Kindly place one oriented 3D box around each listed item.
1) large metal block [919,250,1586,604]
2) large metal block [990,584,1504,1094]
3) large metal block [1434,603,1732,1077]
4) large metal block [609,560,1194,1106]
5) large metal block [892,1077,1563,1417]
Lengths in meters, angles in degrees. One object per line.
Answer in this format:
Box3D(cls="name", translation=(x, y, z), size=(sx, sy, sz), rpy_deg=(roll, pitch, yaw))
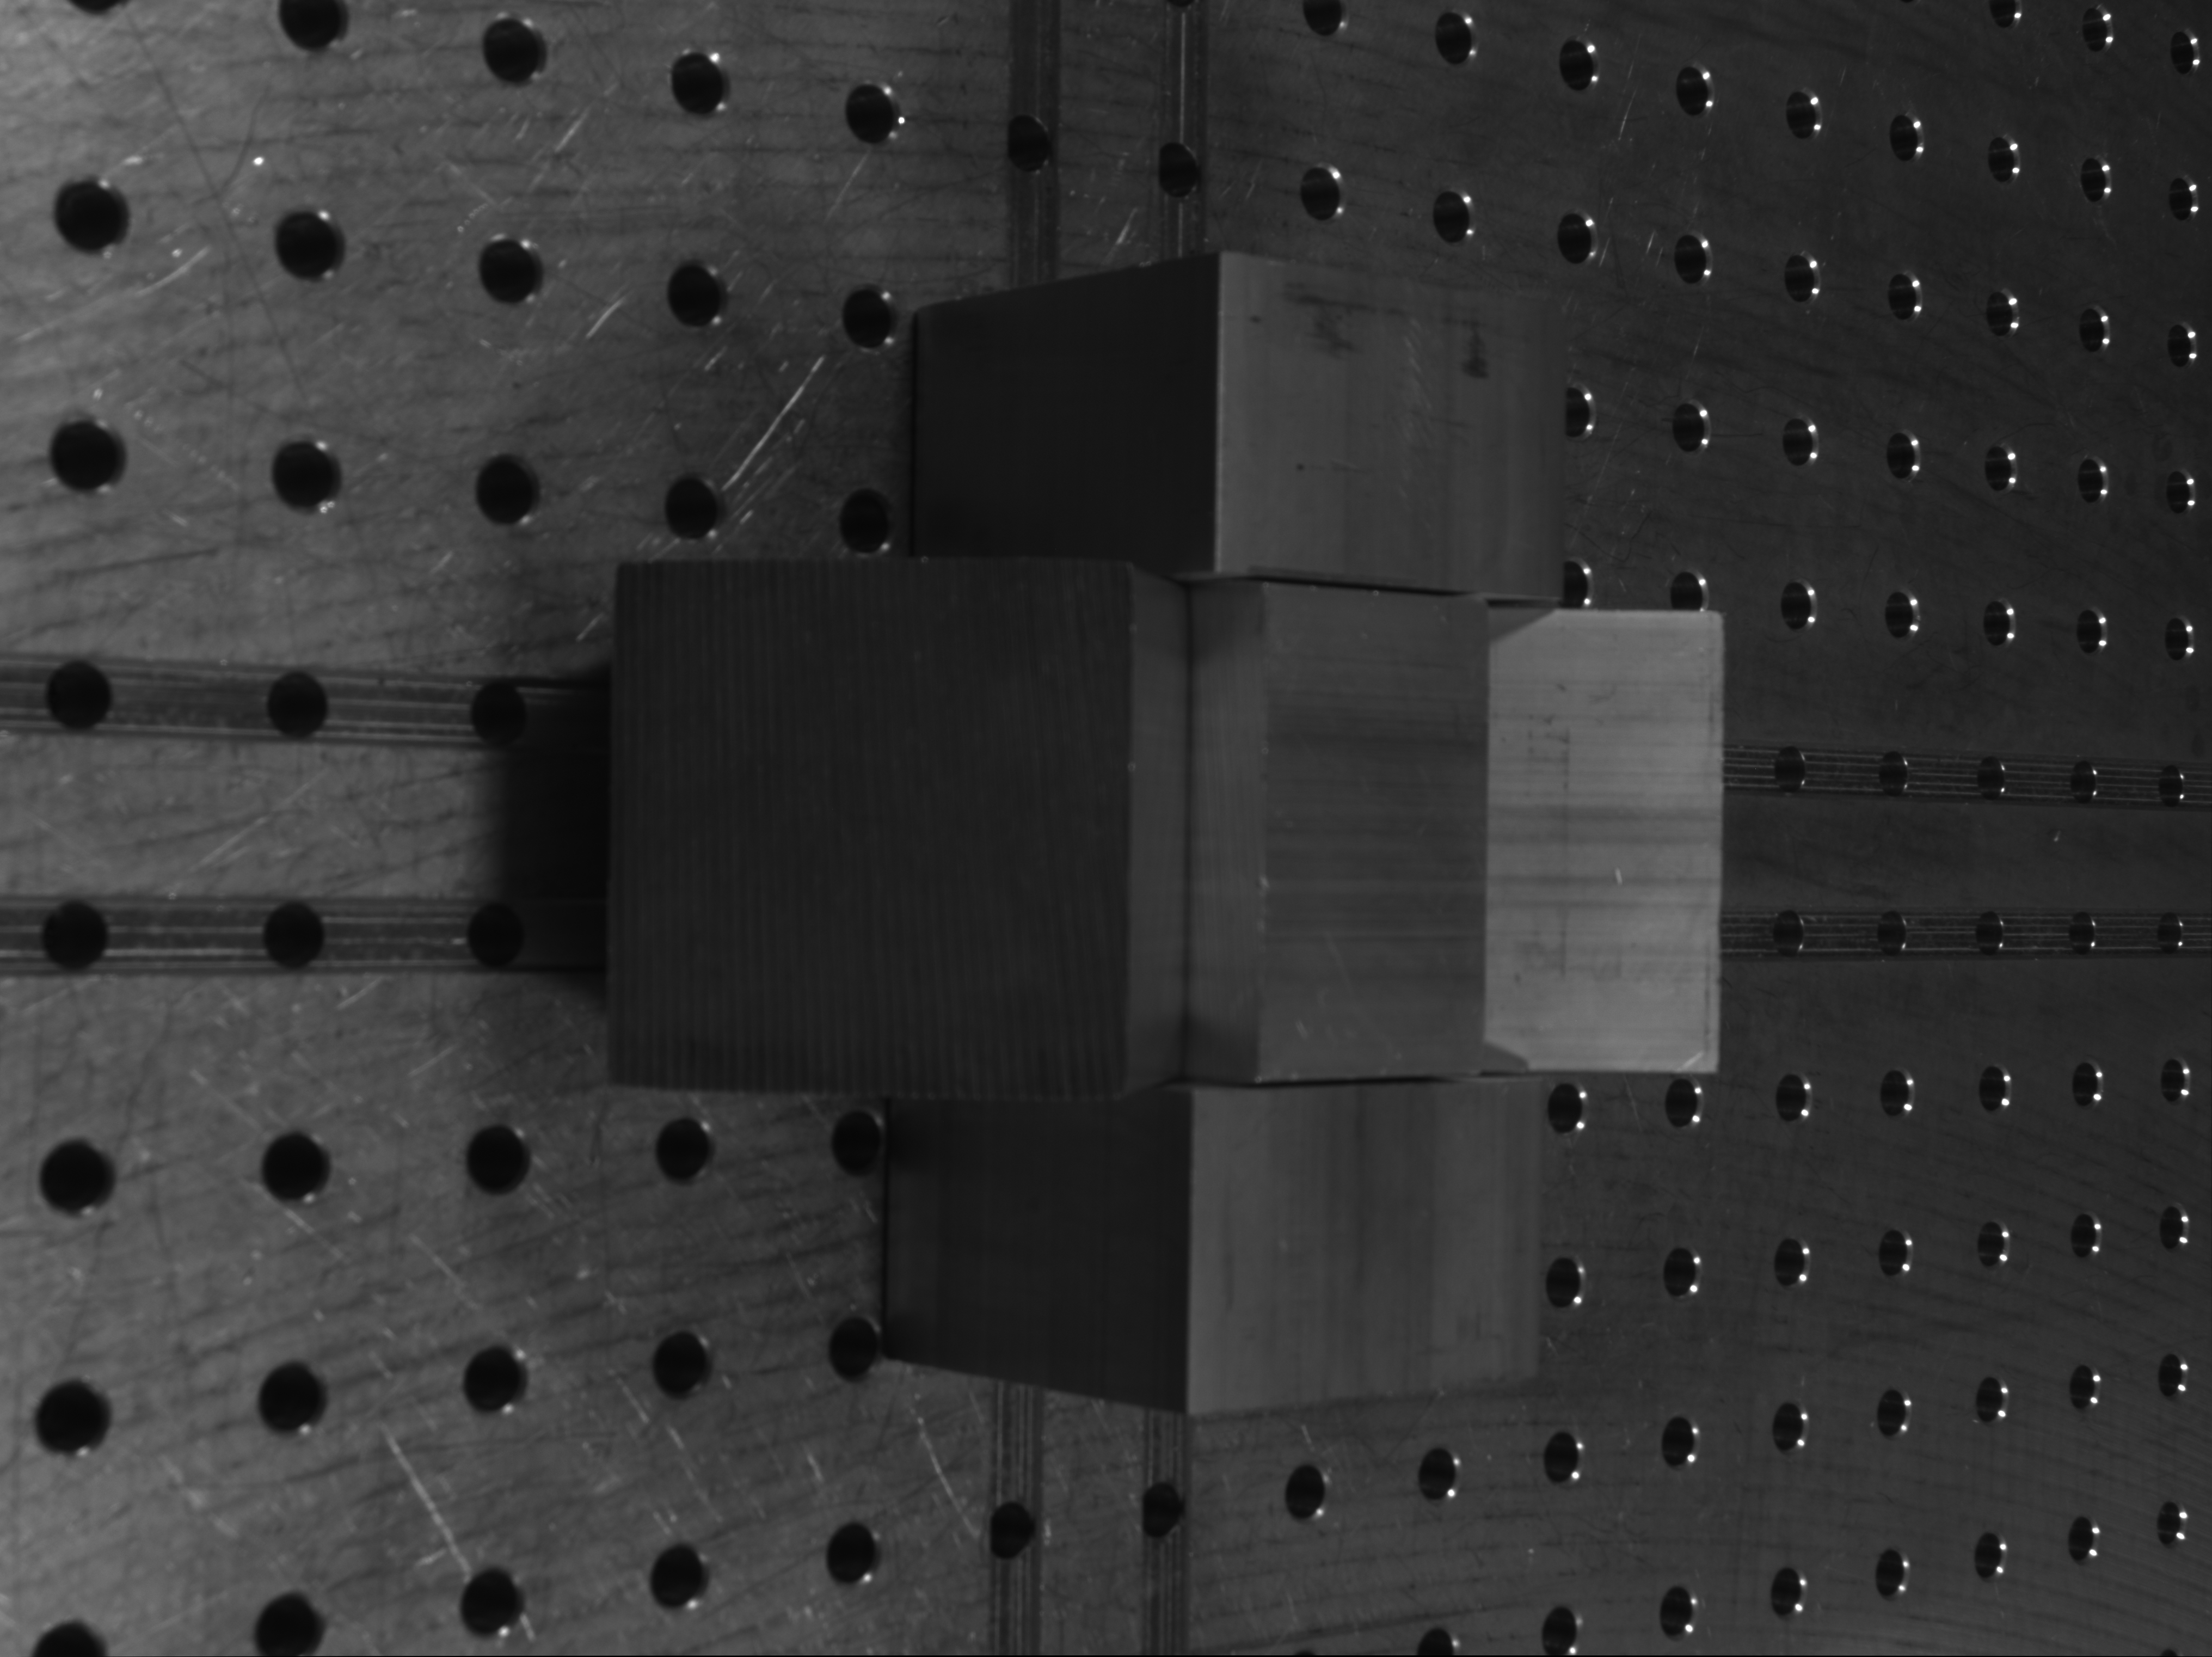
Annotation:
Box3D(cls="large metal block", translation=(0.025, -0.064, 0.624), size=(0.080, 0.080, 0.050), rpy_deg=(1, 89, -40))
Box3D(cls="large metal block", translation=(0.021, 0.002, 0.620), size=(0.050, 0.080, 0.080), rpy_deg=(1, 89, -40))
Box3D(cls="large metal block", translation=(0.080, 0.003, 0.660), size=(0.050, 0.080, 0.080), rpy_deg=(1, 89, -2))
Box3D(cls="large metal block", translation=(-0.030, 0.000, 0.571), size=(0.050, 0.080, 0.080), rpy_deg=(2, 89, -79))
Box3D(cls="large metal block", translation=(0.020, 0.066, 0.620), size=(0.080, 0.080, 0.050), rpy_deg=(1, 89, -40))
